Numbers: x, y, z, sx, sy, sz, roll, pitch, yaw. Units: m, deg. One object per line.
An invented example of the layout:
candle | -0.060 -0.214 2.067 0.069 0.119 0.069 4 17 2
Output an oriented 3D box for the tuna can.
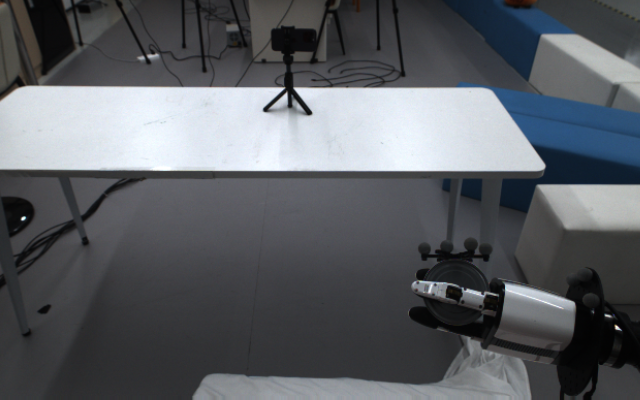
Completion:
tuna can | 0.180 0.120 0.640 0.085 0.034 0.085 -5 70 15
